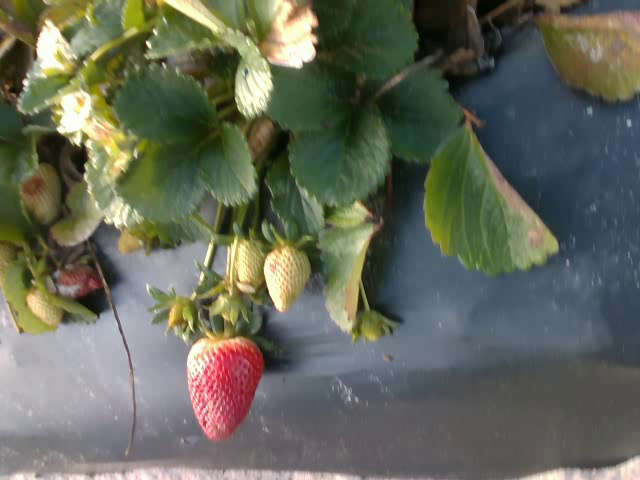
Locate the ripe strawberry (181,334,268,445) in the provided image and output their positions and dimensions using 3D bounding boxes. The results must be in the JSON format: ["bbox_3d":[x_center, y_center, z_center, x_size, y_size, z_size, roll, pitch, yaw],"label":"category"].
[{"bbox_3d":[-0.064,0.098,0.380,0.052,0.068,0.044,-9,-14,22],"label":"ripe strawberry"}]
